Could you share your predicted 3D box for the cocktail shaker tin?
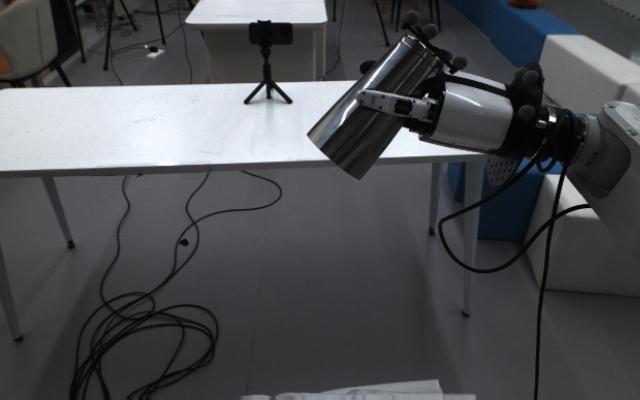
[{"bbox_3d":[0.074,-0.123,0.610,0.093,0.170,0.093,41,12,-11],"label":"cocktail shaker tin"}]
